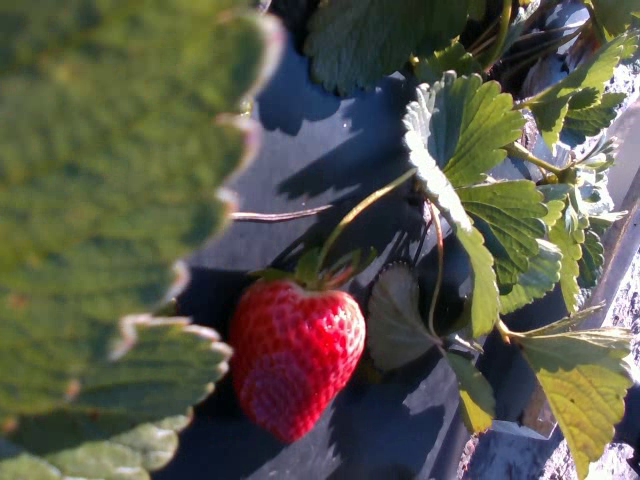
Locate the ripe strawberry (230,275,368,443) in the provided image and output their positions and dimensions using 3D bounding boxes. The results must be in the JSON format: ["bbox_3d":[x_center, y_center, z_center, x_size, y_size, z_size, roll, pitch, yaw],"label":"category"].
[{"bbox_3d":[-0.008,0.031,0.177,0.044,0.056,0.042,9,-8,2],"label":"ripe strawberry"}]
